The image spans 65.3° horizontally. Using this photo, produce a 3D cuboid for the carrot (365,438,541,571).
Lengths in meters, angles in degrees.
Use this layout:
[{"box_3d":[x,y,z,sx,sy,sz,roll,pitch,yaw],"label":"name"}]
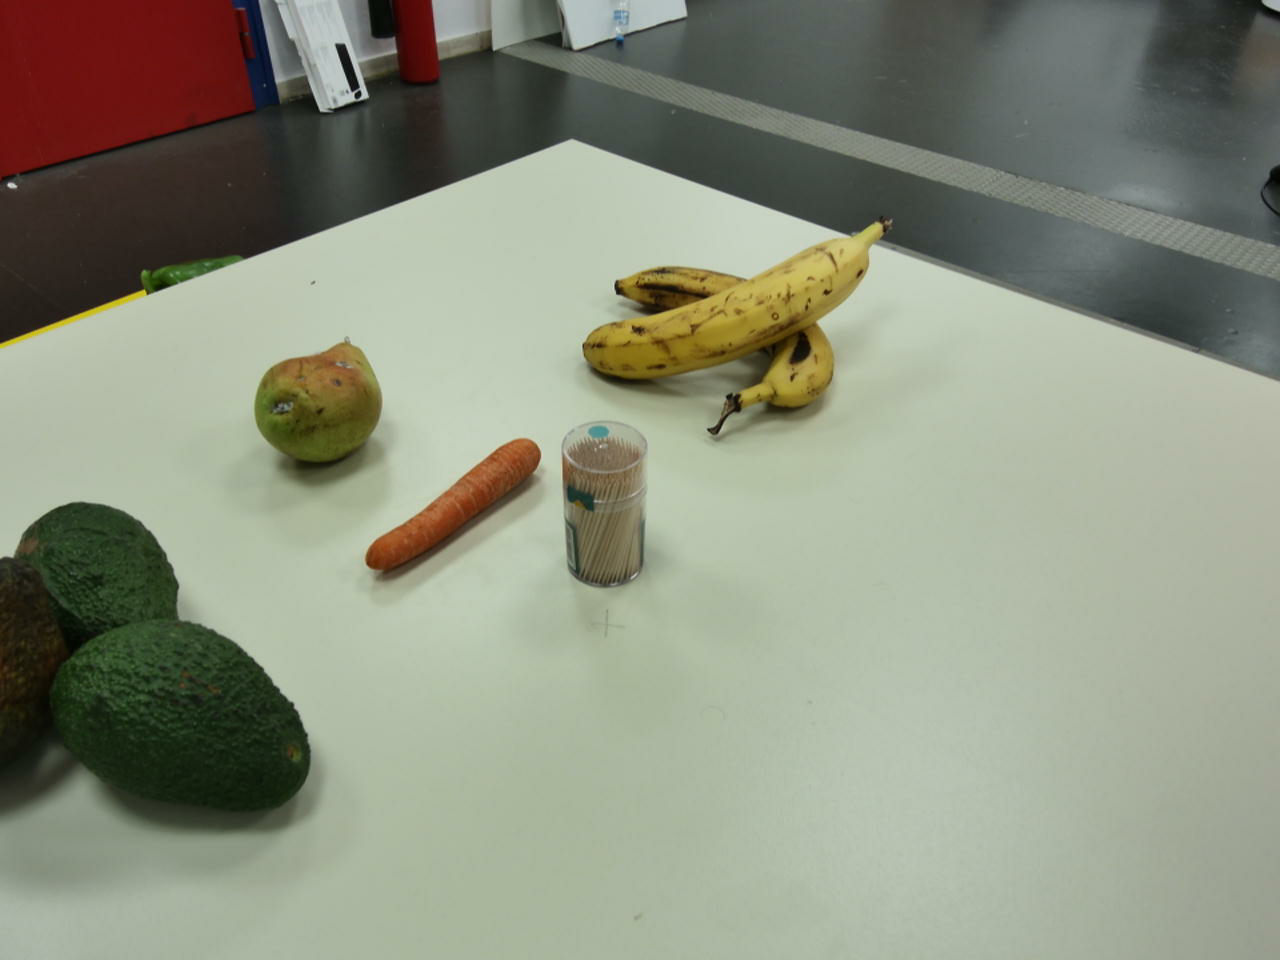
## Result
[{"box_3d":[-0.096,0.011,0.528,0.024,0.023,0.122,26,43,29],"label":"carrot"}]
